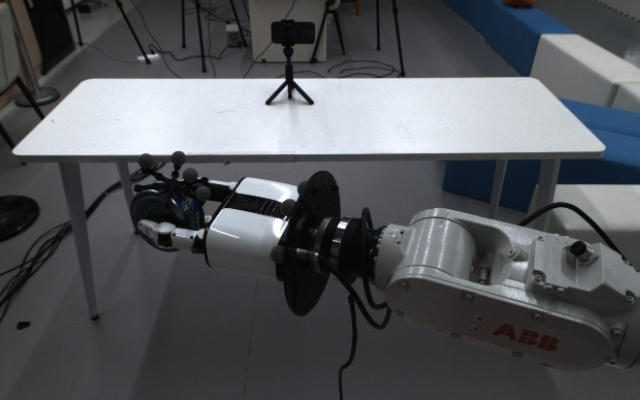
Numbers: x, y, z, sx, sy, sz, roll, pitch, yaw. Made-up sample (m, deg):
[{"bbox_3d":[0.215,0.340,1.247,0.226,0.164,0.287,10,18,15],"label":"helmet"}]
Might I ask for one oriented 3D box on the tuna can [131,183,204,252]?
[{"bbox_3d":[-0.181,0.025,0.581,0.085,0.085,0.034,15,31,18],"label":"tuna can"}]
